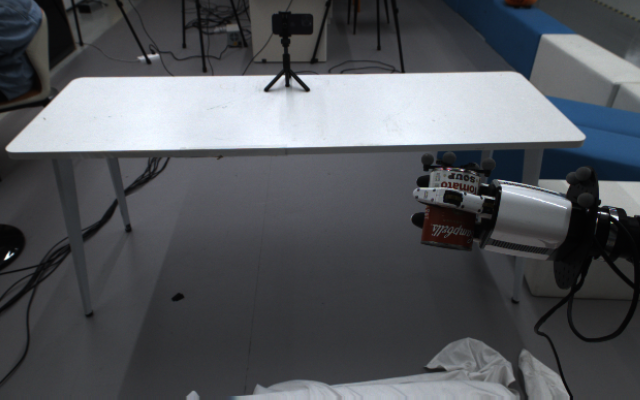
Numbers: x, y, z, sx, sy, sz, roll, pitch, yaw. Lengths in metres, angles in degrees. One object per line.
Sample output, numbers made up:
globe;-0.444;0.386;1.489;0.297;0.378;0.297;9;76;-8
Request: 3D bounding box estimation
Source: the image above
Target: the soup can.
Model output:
soup can;0.176;0.013;0.647;0.067;0.101;0.067;9;-6;1
